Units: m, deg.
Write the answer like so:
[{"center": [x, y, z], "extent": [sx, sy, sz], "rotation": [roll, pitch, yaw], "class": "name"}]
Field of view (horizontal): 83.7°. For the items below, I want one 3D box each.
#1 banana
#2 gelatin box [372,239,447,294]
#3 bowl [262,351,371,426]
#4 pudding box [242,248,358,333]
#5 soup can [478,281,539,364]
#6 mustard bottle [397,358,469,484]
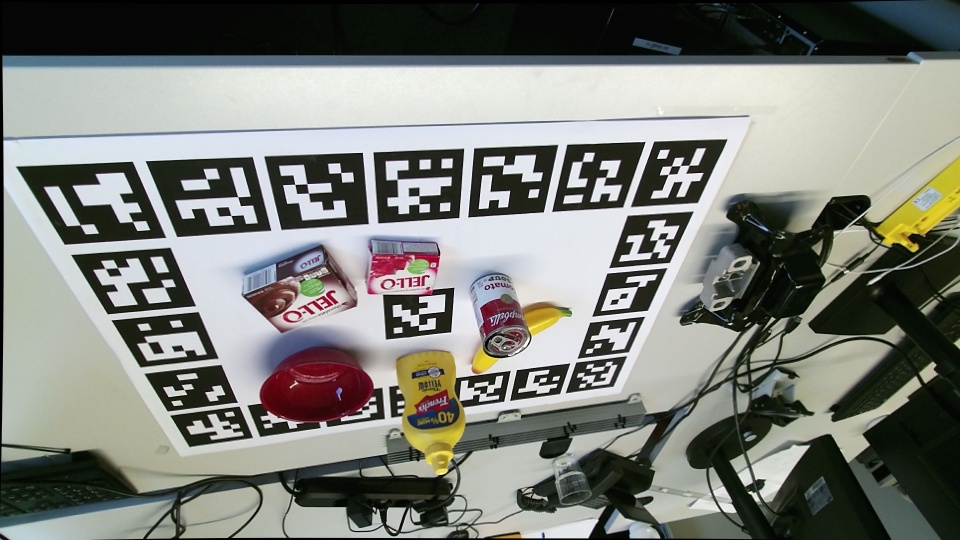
[{"center": [0.060, 0.124, 0.870], "extent": [0.197, 0.038, 0.074], "rotation": [-39, 142, 21], "class": "banana"}, {"center": [-0.093, -0.004, 0.702], "extent": [0.090, 0.030, 0.073], "rotation": [0, 130, -18], "class": "gelatin box"}, {"center": [-0.251, 0.172, 0.814], "extent": [0.162, 0.055, 0.162], "rotation": [-10, 136, -9], "class": "bowl"}, {"center": [-0.228, 0.031, 0.689], "extent": [0.114, 0.038, 0.090], "rotation": [-22, 130, 5], "class": "pudding box"}, {"center": [0.038, 0.074, 0.755], "extent": [0.068, 0.101, 0.068], "rotation": [-8, 137, -7], "class": "soup can"}, {"center": [-0.068, 0.226, 0.806], "extent": [0.096, 0.190, 0.058], "rotation": [-5, 137, -12], "class": "mustard bottle"}]
